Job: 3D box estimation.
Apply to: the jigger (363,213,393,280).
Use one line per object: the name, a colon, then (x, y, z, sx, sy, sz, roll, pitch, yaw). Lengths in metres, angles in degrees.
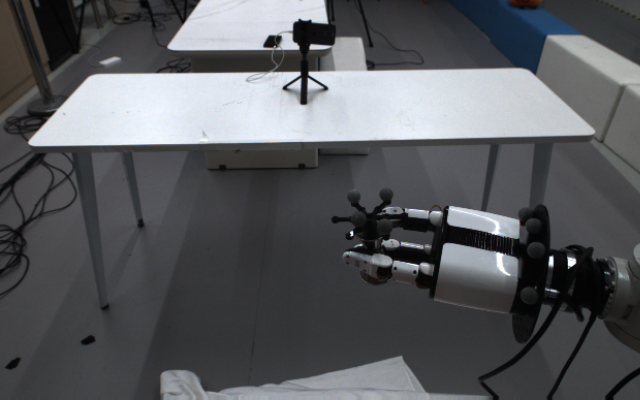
jigger: (0.068, 0.061, 0.597, 0.043, 0.071, 0.043, -9, 31, 5)
